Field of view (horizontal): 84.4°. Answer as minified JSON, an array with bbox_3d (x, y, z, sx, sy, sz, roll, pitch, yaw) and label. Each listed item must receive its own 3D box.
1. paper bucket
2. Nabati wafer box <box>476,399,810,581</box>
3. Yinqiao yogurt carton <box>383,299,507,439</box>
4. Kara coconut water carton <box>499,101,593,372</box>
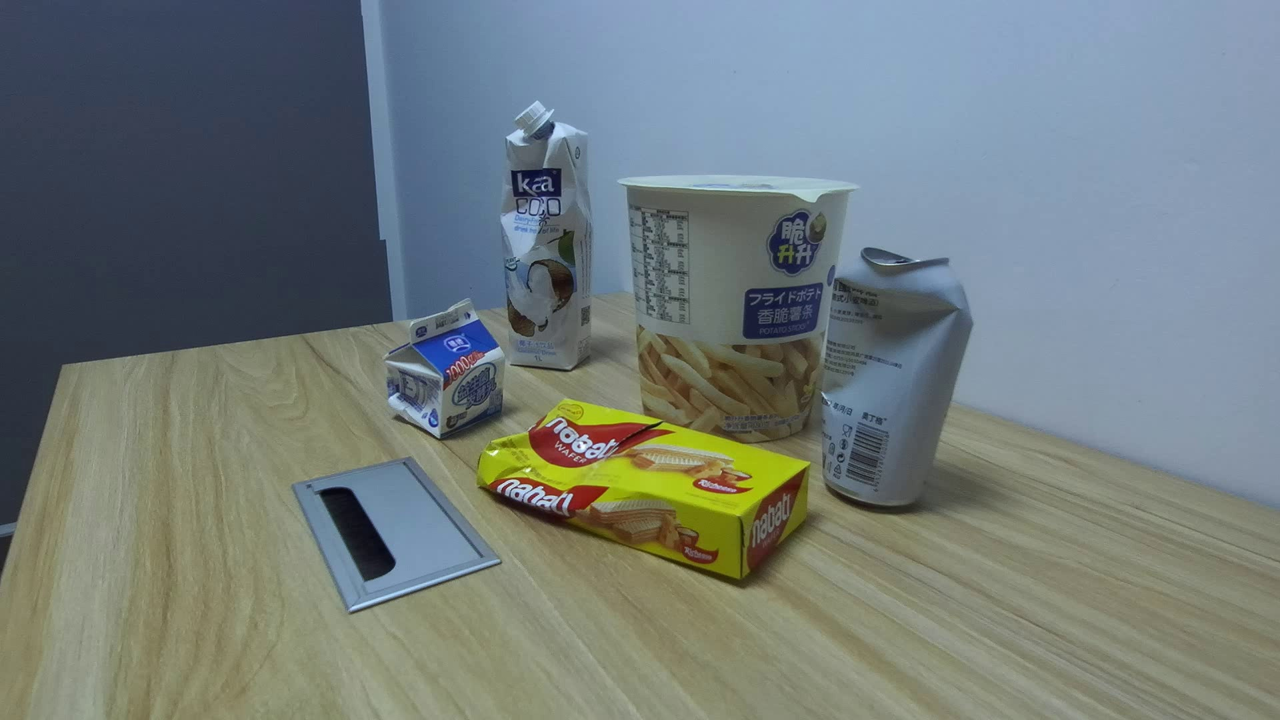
[{"bbox_3d":[0.076,-0.048,0.587,0.198,0.194,0.198,0,18,0],"label":"paper bucket"},{"bbox_3d":[-0.007,0.074,0.453,0.203,0.042,0.107,11,20,33],"label":"Nabati wafer box"},{"bbox_3d":[-0.164,0.002,0.580,0.080,0.097,0.075,18,25,26],"label":"Yinqiao yogurt carton"},{"bbox_3d":[-0.093,-0.121,0.702,0.083,0.255,0.078,12,23,28],"label":"Kara coconut water carton"}]
